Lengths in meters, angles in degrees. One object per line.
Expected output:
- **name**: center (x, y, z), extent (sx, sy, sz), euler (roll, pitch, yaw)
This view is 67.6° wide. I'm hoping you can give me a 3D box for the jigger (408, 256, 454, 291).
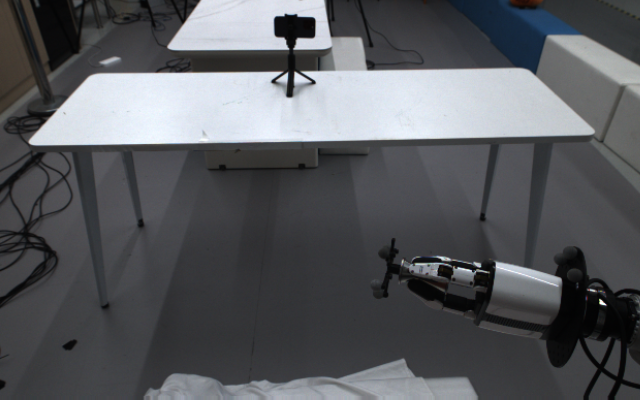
- **jigger**: center (0.155, 0.103, 0.688), extent (0.071, 0.043, 0.043), euler (10, 35, 15)
